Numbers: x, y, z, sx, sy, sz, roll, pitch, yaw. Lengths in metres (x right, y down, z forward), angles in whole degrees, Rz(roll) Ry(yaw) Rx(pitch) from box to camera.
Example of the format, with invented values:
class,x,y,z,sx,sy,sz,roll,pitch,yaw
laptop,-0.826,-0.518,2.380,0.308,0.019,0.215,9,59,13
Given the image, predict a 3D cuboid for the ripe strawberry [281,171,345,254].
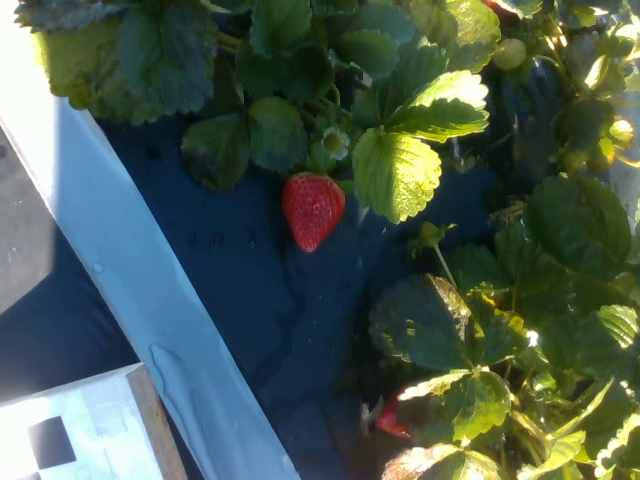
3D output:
class,x,y,z,sx,sy,sz,roll,pitch,yaw
ripe strawberry,-0.005,-0.017,0.383,0.045,0.058,0.042,10,-10,11
